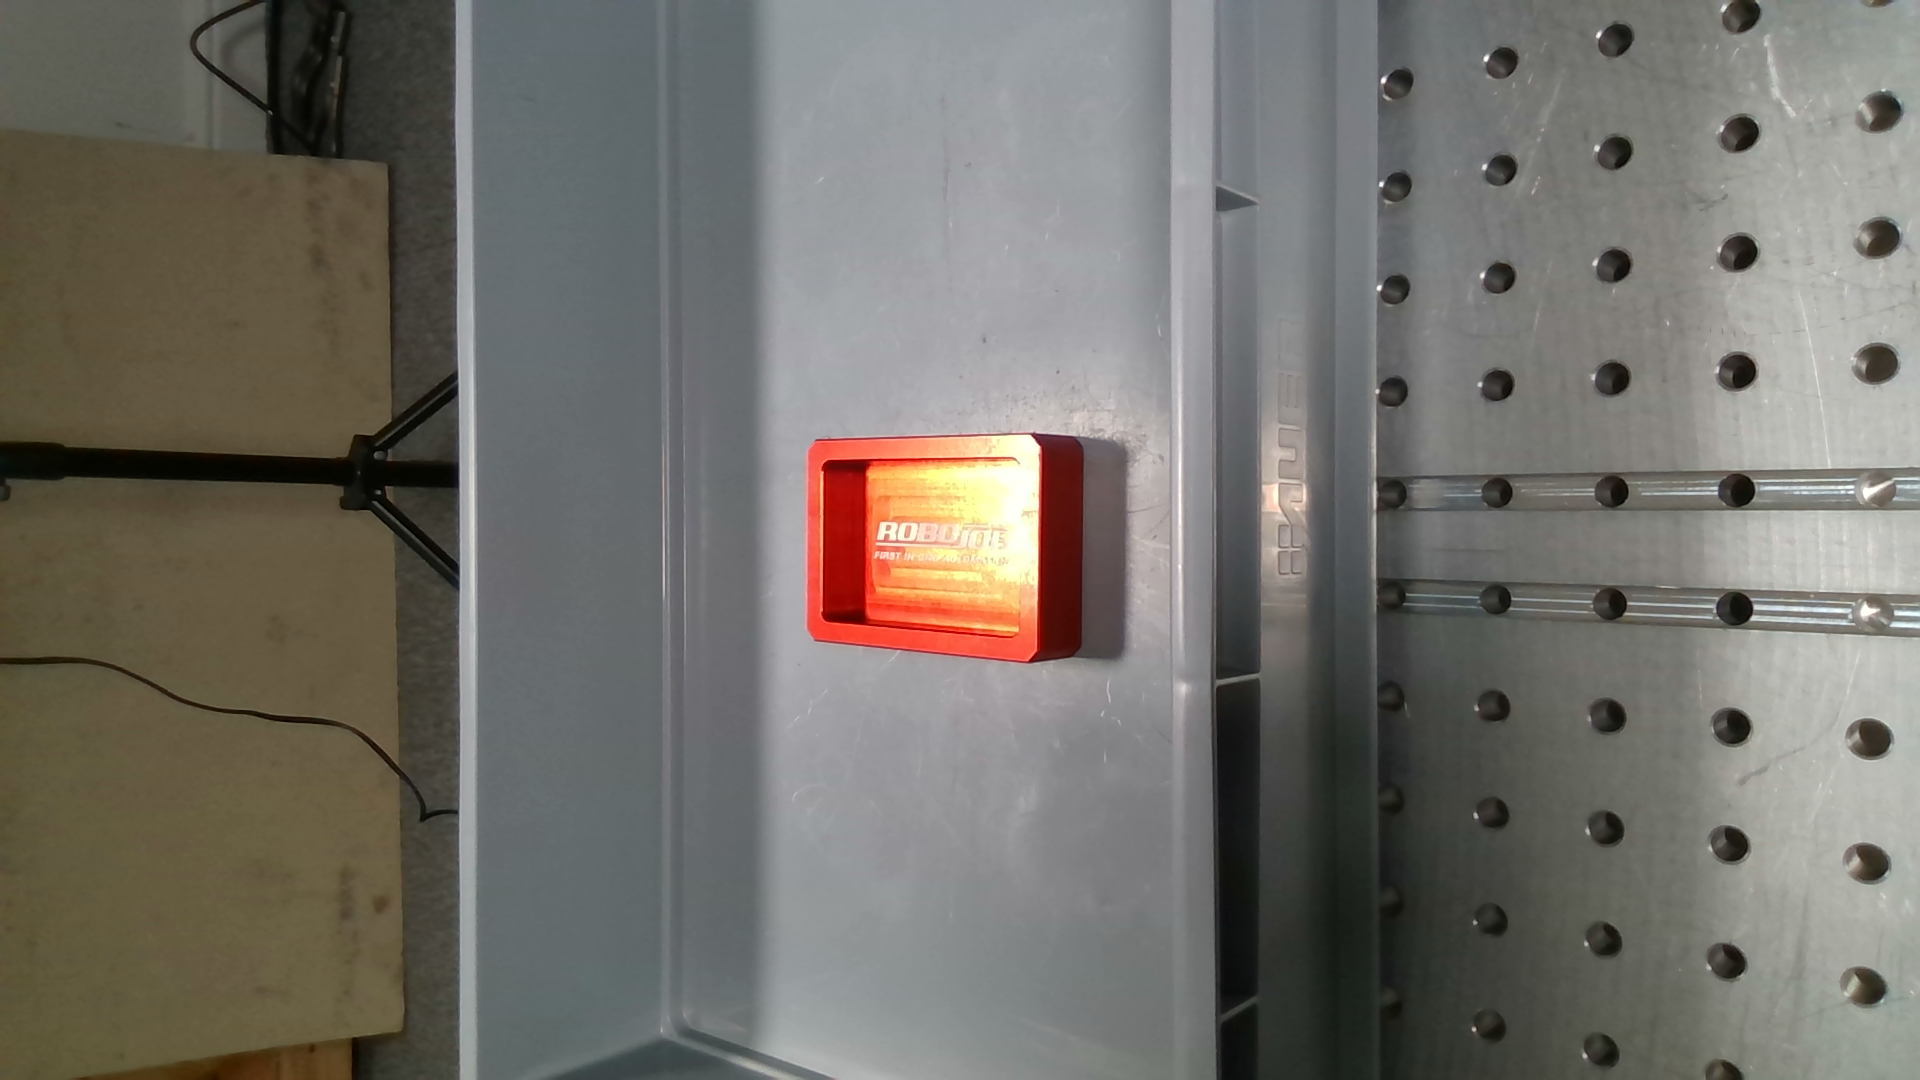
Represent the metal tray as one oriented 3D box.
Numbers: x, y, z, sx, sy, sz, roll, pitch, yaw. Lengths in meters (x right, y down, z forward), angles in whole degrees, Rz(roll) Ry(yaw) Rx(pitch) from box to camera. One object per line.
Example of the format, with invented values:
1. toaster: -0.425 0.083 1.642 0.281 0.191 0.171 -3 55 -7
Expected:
1. metal tray: -0.010 0.001 0.584 0.130 0.030 0.090 2 92 40
